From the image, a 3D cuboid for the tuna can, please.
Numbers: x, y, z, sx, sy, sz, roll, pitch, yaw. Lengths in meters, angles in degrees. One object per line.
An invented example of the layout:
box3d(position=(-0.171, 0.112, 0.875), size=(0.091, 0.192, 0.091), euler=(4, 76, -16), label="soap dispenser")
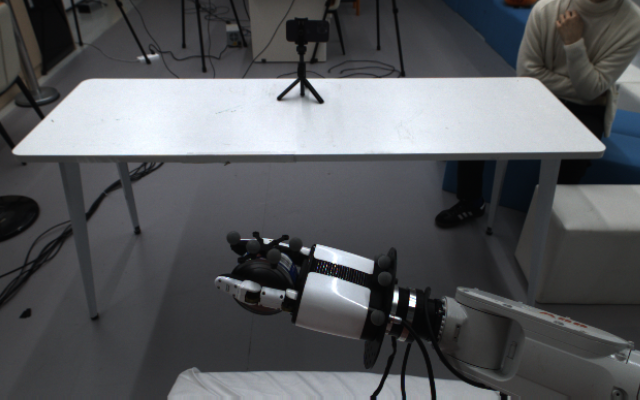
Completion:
box3d(position=(-0.070, 0.106, 0.628), size=(0.085, 0.085, 0.034), euler=(6, 22, 6), label="tuna can")
